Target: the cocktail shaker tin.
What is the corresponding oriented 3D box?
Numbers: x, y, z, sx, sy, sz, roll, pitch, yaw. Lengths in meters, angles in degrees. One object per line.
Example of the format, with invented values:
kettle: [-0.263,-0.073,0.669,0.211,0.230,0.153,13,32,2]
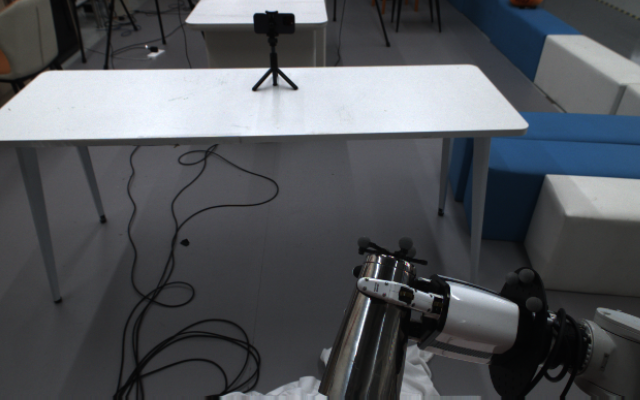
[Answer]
cocktail shaker tin: [0.067,0.155,0.581,0.093,0.093,0.170,12,72,14]
